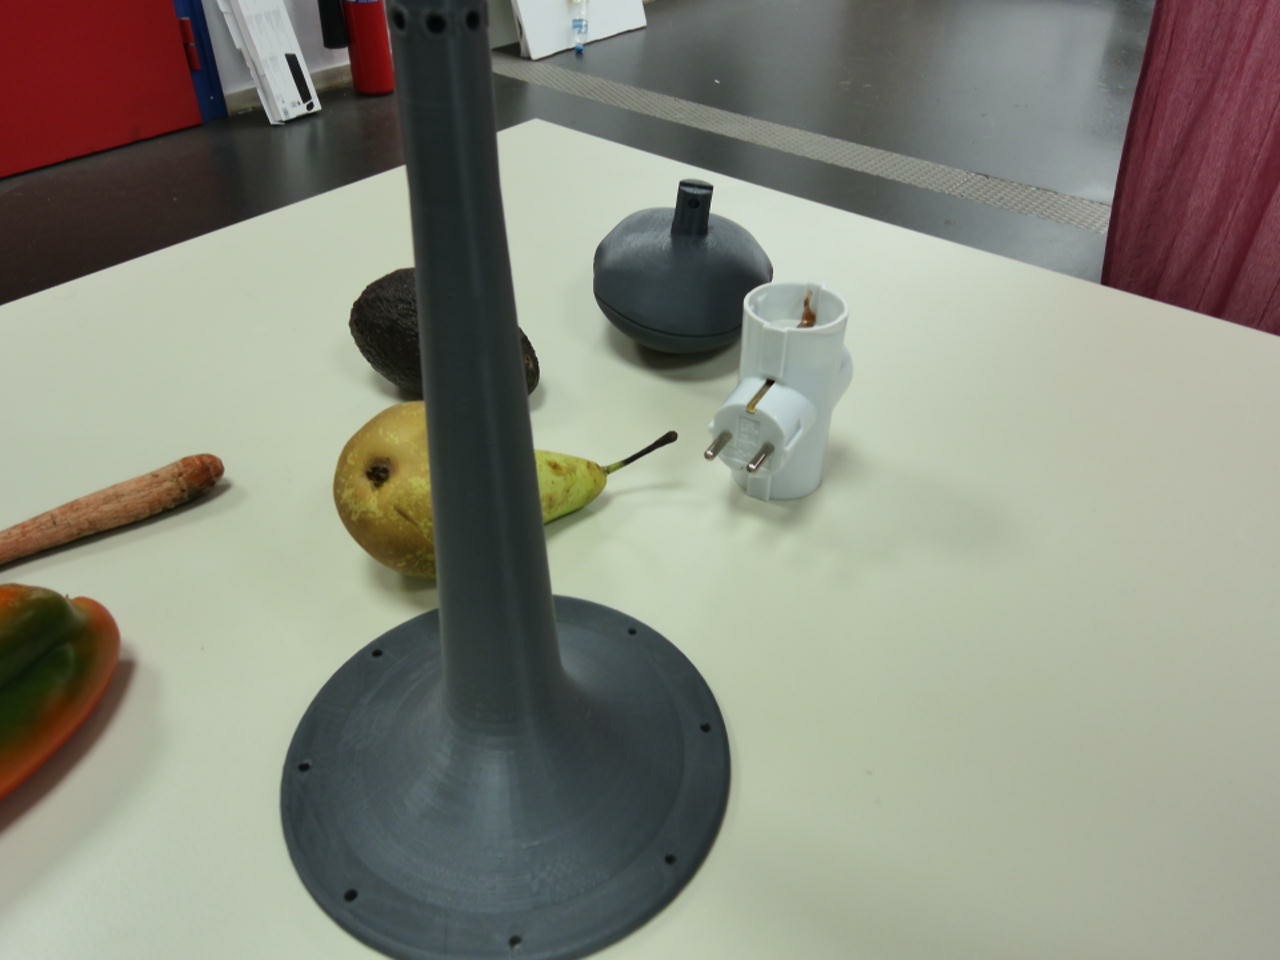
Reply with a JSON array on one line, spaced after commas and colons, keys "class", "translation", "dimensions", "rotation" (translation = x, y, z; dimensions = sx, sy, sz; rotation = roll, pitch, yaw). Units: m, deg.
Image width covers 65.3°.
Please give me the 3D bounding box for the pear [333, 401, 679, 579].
[{"class": "pear", "translation": [-0.058, -0.010, 0.418], "dimensions": [0.071, 0.075, 0.144], "rotation": [30, 45, 35]}]
